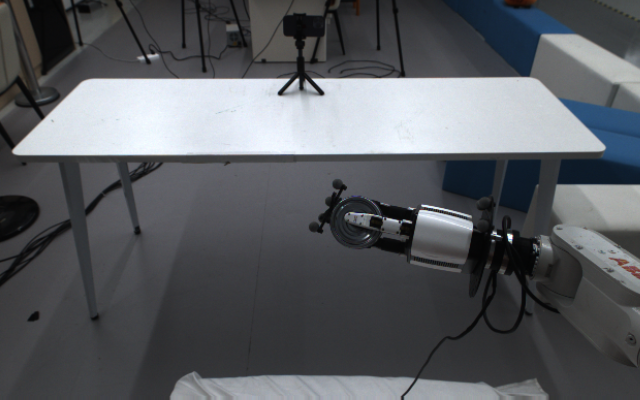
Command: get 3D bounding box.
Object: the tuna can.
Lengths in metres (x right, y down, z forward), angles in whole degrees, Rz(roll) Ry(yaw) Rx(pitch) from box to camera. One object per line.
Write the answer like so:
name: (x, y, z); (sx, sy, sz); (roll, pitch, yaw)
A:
tuna can: (0.061, 0.035, 0.776); (0.085, 0.085, 0.034); (9, -5, 10)
